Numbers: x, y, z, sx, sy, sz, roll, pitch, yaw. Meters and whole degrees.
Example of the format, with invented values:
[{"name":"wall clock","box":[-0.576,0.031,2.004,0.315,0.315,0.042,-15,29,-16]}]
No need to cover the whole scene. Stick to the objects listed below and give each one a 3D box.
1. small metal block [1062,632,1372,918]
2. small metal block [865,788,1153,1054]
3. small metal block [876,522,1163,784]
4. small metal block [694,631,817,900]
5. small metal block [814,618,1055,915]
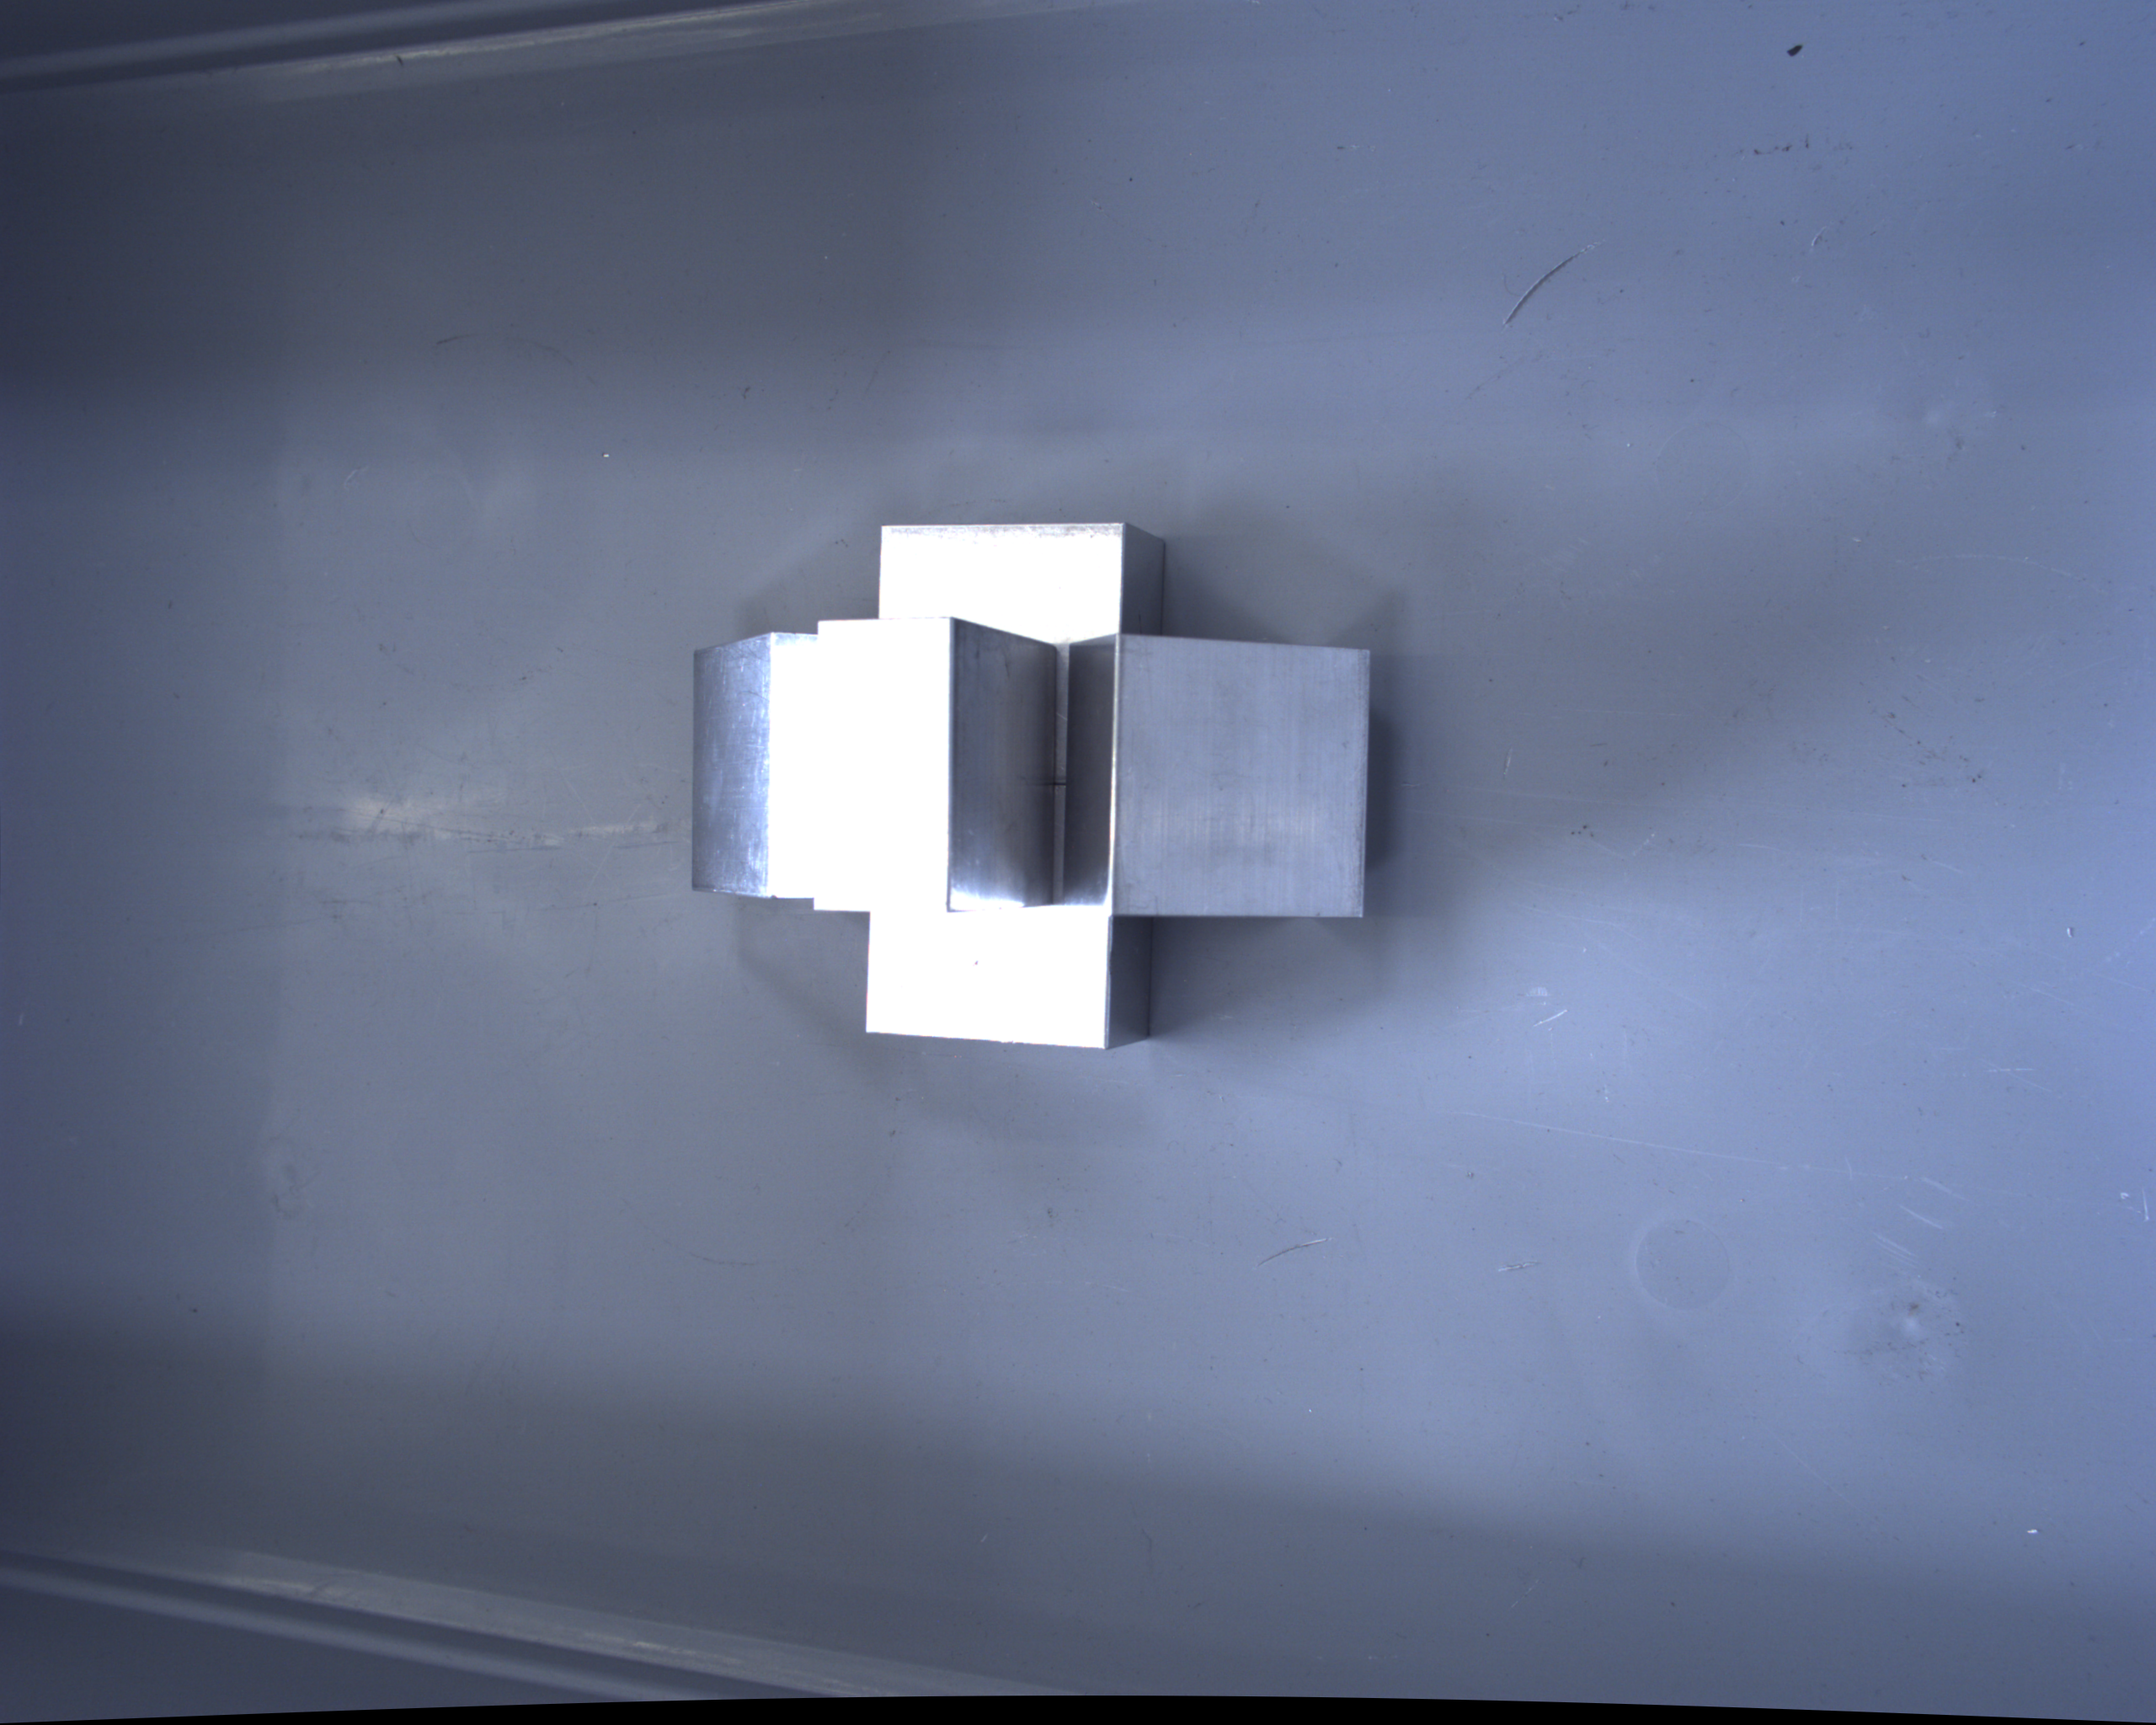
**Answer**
[{"name":"small metal block","box":[0.025,-0.016,0.387,0.050,0.025,0.050,1,91,-20]},{"name":"small metal block","box":[-0.013,0.010,0.413,0.050,0.025,0.050,3,91,20]},{"name":"small metal block","box":[-0.012,-0.040,0.412,0.050,0.025,0.050,3,91,19]},{"name":"small metal block","box":[-0.057,-0.018,0.414,0.050,0.025,0.050,2,91,63]},{"name":"small metal block","box":[-0.025,-0.016,0.377,0.025,0.050,0.050,1,90,19]}]
